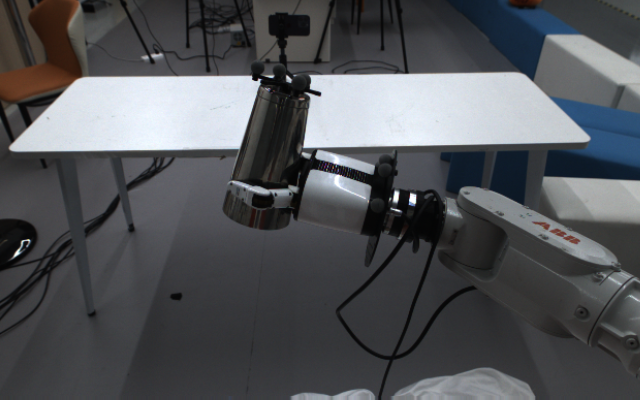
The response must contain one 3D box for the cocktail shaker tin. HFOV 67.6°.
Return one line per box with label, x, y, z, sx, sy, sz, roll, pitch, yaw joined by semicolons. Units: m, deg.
cocktail shaker tin;-0.064;-0.058;0.626;0.093;0.170;0.093;14;20;-5
